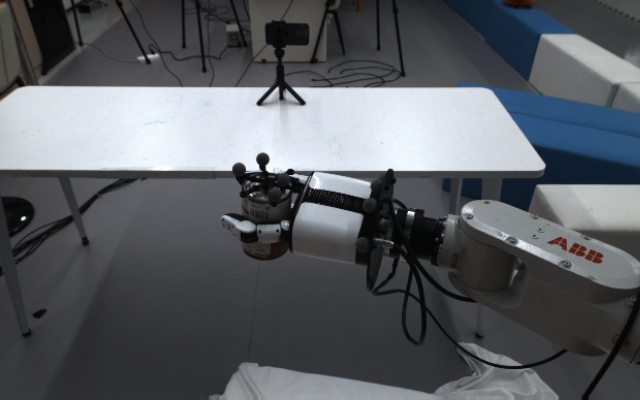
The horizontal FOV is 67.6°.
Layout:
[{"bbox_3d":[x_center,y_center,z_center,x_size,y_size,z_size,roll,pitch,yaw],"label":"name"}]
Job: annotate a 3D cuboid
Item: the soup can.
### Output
[{"bbox_3d":[-0.071,0.023,0.655,0.067,0.101,0.067,5,37,-3],"label":"soup can"}]
